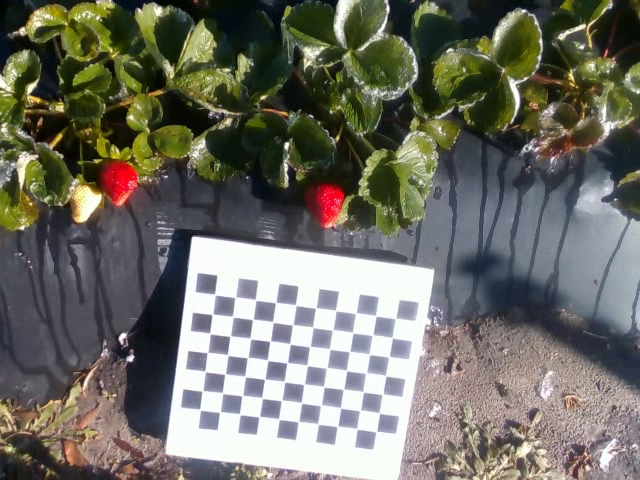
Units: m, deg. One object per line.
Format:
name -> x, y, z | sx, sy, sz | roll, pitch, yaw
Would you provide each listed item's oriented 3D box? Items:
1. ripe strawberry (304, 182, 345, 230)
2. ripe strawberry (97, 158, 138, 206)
ripe strawberry -> 0.005, -0.038, 0.667 | 0.048, 0.061, 0.044 | 1, -24, -3
ripe strawberry -> -0.222, -0.057, 0.660 | 0.042, 0.061, 0.046 | -6, -33, -1
